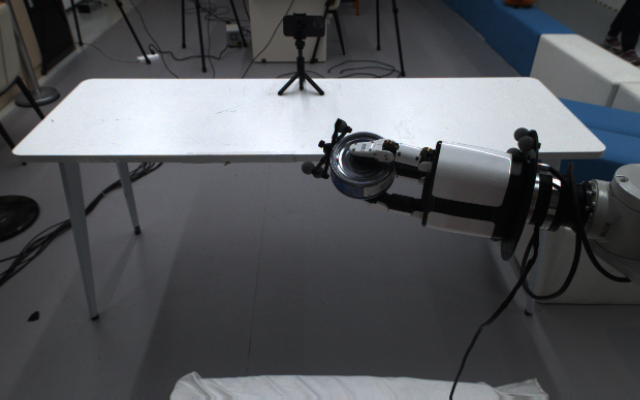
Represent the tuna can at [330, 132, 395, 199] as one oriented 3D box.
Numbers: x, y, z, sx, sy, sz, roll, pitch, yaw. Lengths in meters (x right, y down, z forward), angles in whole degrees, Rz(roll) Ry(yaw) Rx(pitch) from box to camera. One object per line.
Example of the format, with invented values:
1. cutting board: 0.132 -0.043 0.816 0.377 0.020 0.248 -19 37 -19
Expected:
1. tuna can: 0.057 -0.047 0.628 0.085 0.034 0.085 -1 61 1
